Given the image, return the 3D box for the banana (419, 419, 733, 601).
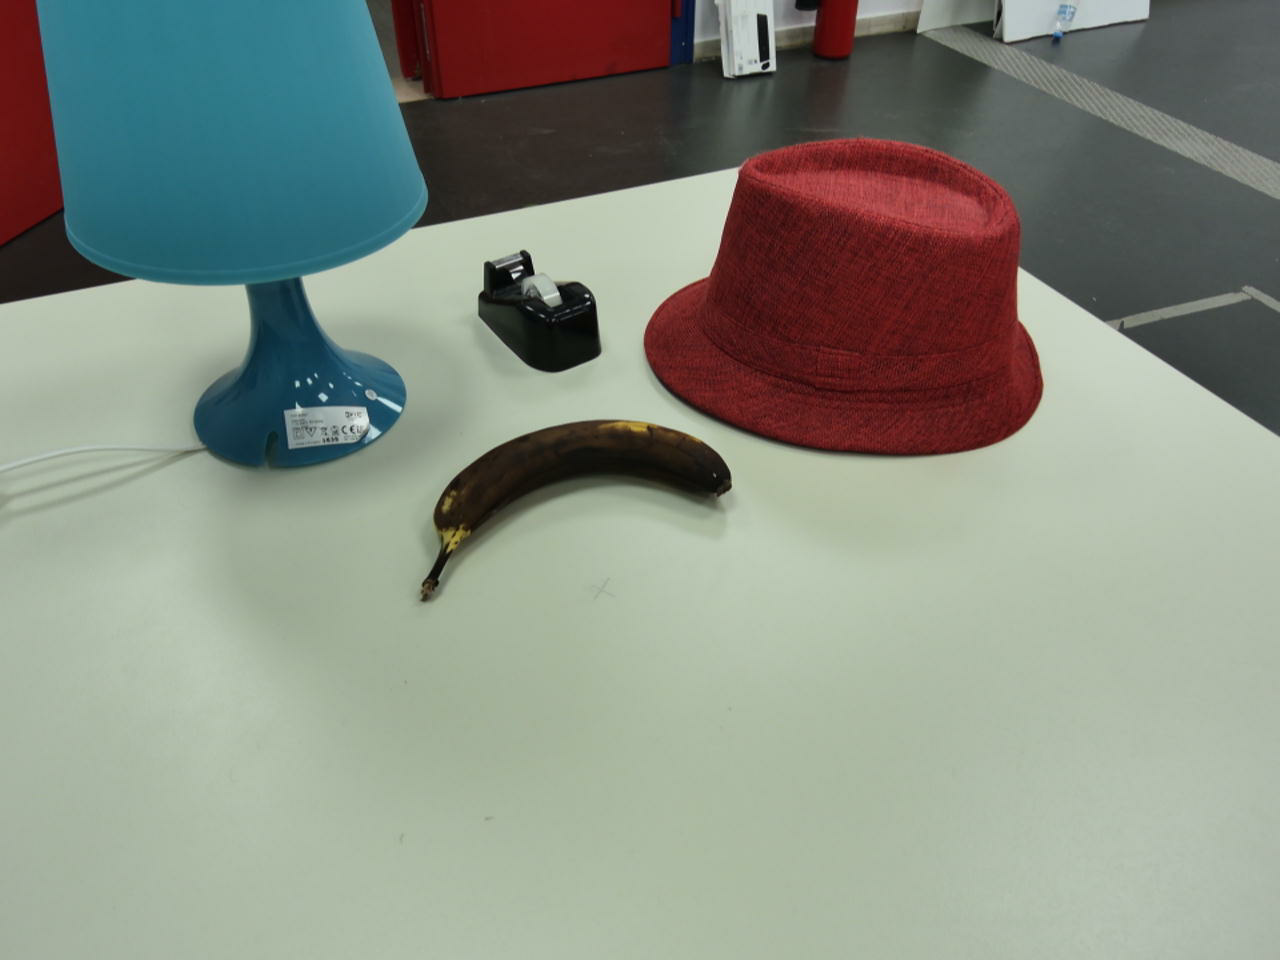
[{"bbox_3d":[-0.045,0.001,0.575,0.188,0.034,0.091,-15,41,-19],"label":"banana"}]
